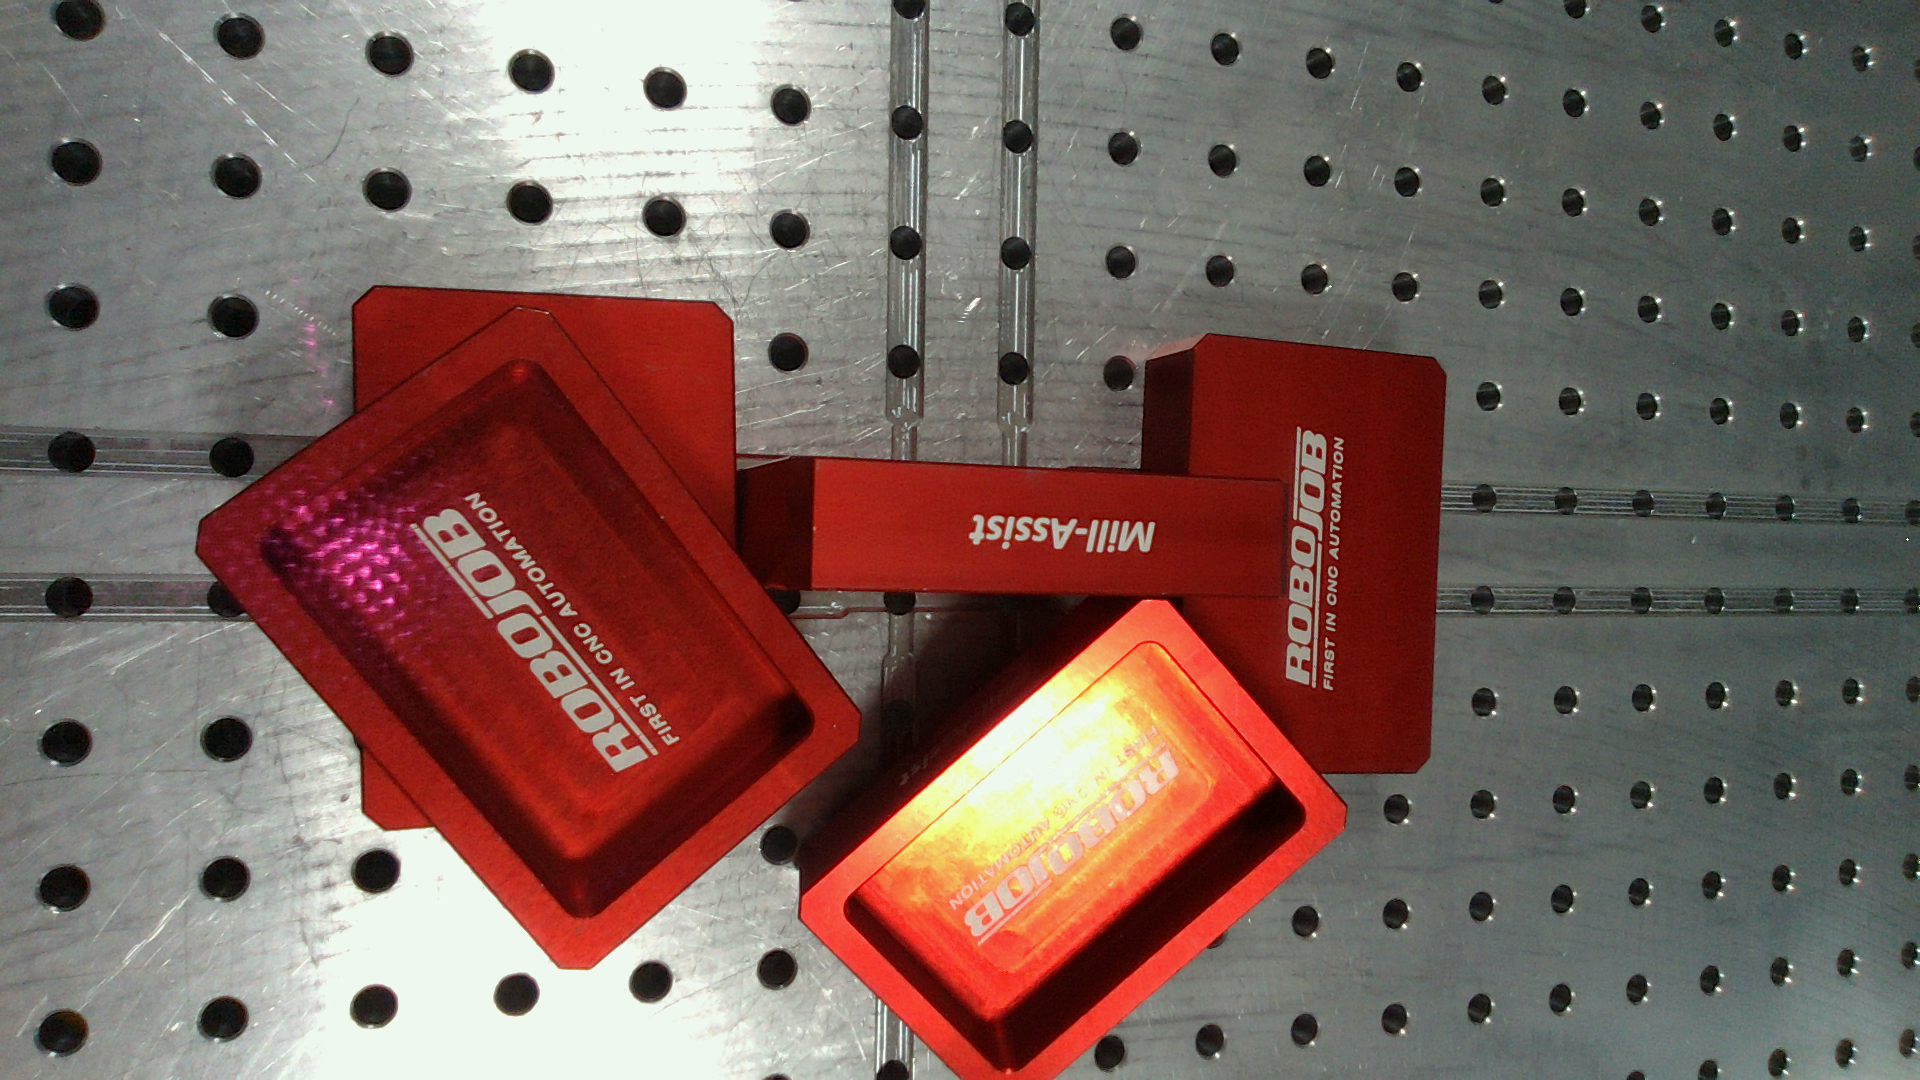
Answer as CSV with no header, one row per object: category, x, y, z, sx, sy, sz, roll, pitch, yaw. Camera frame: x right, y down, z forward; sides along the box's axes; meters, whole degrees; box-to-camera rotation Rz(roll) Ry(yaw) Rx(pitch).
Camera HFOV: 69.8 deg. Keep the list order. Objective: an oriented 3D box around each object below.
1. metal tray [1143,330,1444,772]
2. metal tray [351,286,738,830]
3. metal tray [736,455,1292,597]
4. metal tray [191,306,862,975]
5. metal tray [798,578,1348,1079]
metal tray,0.103,0.005,0.430,0.090,0.030,0.130,3,89,-20
metal tray,-0.105,0.004,0.355,0.090,0.030,0.130,-1,91,-20
metal tray,0.009,-0.002,0.364,0.130,0.090,0.030,1,90,-20
metal tray,-0.097,0.023,0.324,0.090,0.030,0.130,-40,103,-16
metal tray,0.030,0.084,0.385,0.130,0.030,0.090,-41,104,2
